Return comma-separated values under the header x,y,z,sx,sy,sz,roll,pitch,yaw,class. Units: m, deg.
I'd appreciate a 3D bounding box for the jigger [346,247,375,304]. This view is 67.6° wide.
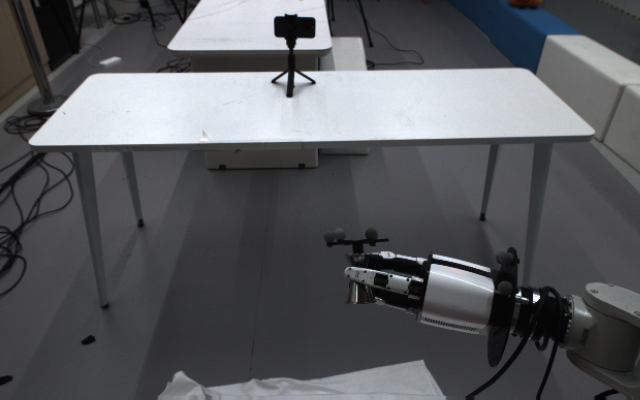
x,y,z,sx,sy,sz,roll,pitch,yaw,class
0.055,0.109,0.681,0.043,0.071,0.043,-2,-7,0,jigger
